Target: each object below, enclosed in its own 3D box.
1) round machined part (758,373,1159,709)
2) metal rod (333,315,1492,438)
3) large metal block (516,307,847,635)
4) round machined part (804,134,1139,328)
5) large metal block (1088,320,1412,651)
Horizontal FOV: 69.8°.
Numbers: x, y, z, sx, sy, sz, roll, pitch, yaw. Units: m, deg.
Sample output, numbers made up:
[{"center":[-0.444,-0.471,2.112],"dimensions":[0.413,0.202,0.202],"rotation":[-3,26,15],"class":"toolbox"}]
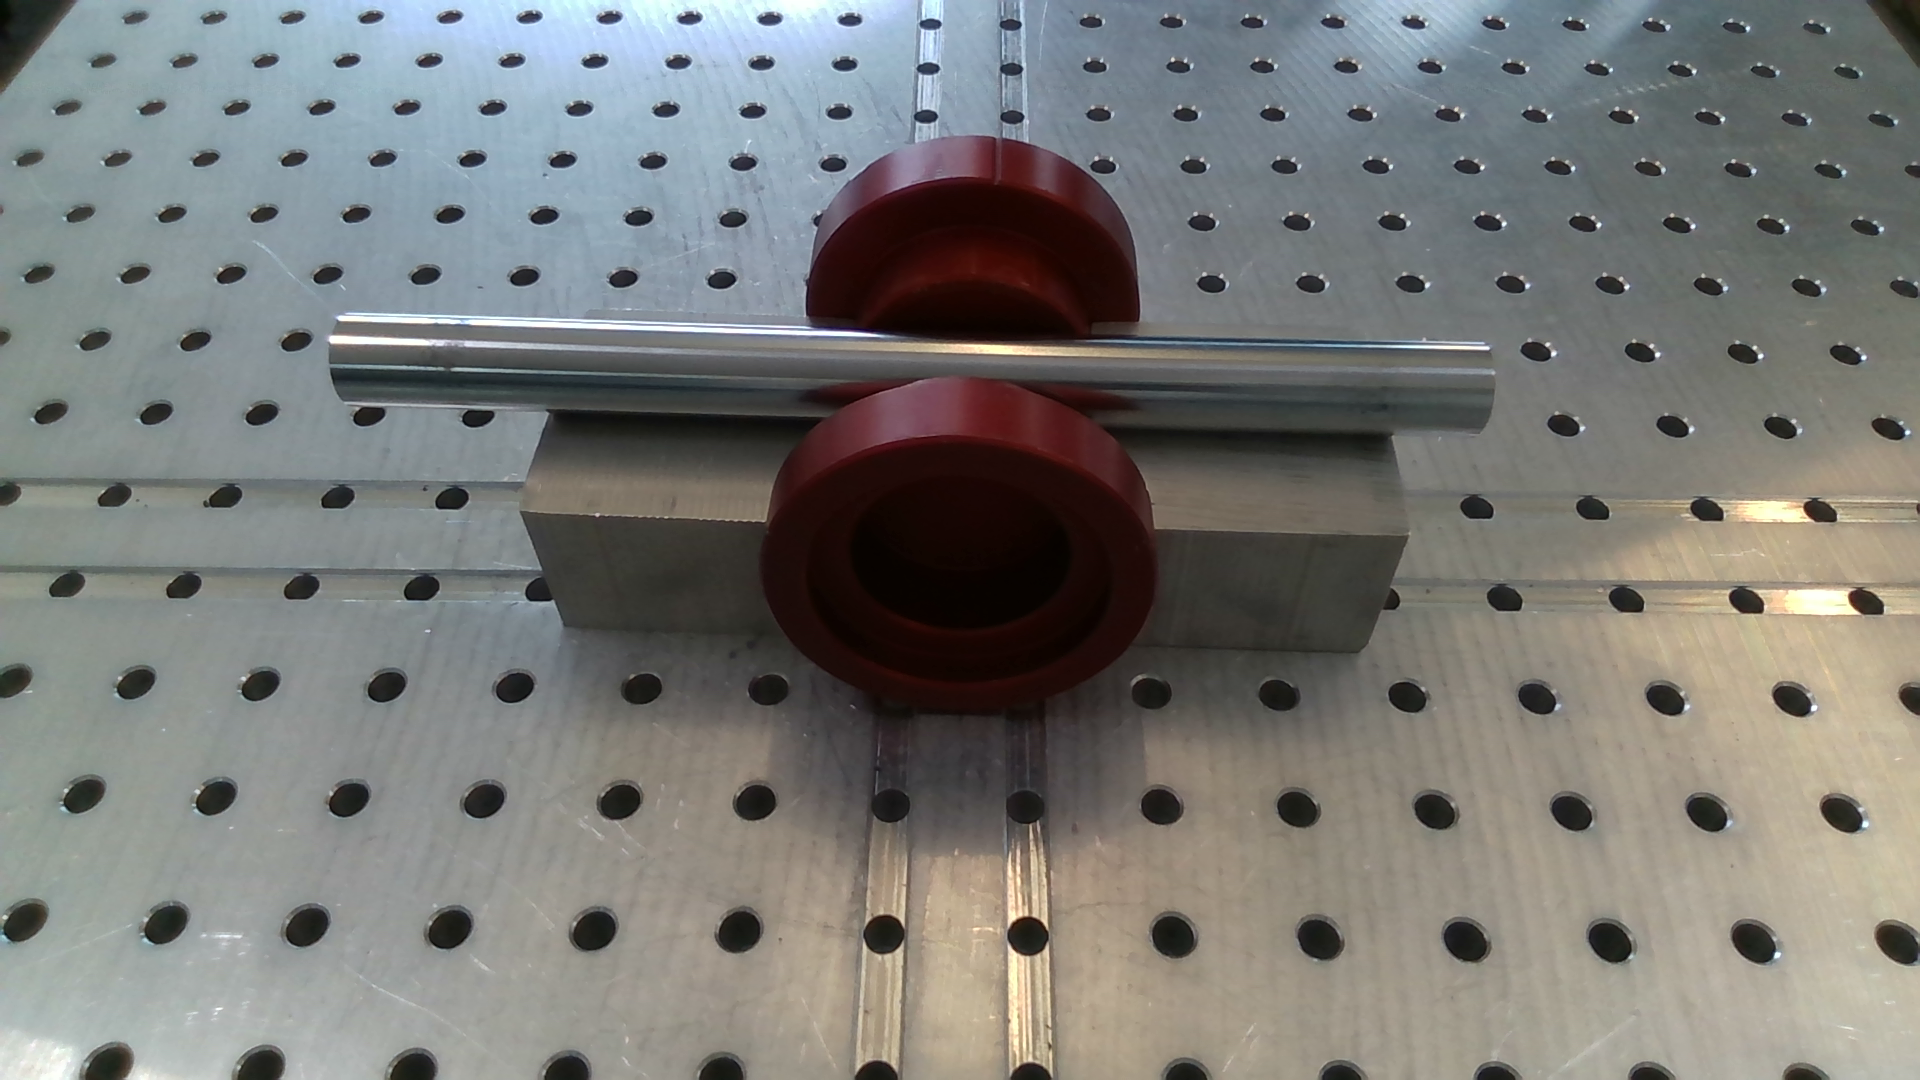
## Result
[{"center":[0.000,-0.003,0.352],"dimensions":[0.098,0.098,0.042],"rotation":[1,45,1],"class":"round machined part"},{"center":[-0.014,-0.044,0.368],"dimensions":[0.300,0.025,0.025],"rotation":[2,50,2],"class":"metal rod"},{"center":[-0.072,-0.020,0.397],"dimensions":[0.080,0.050,0.080],"rotation":[2,50,2],"class":"large metal block"},{"center":[0.003,-0.065,0.402],"dimensions":[0.098,0.098,0.042],"rotation":[1,50,1],"class":"round machined part"},{"center":[0.076,-0.017,0.394],"dimensions":[0.080,0.050,0.080],"rotation":[2,50,1],"class":"large metal block"}]
